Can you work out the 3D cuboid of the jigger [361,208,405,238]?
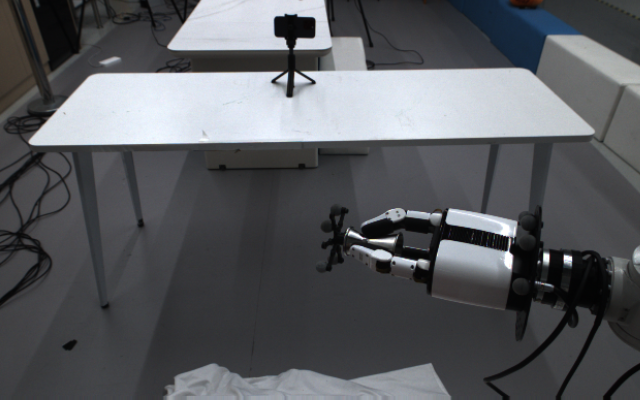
[{"bbox_3d":[0.074,0.055,0.622,0.071,0.043,0.043,8,34,23],"label":"jigger"}]
